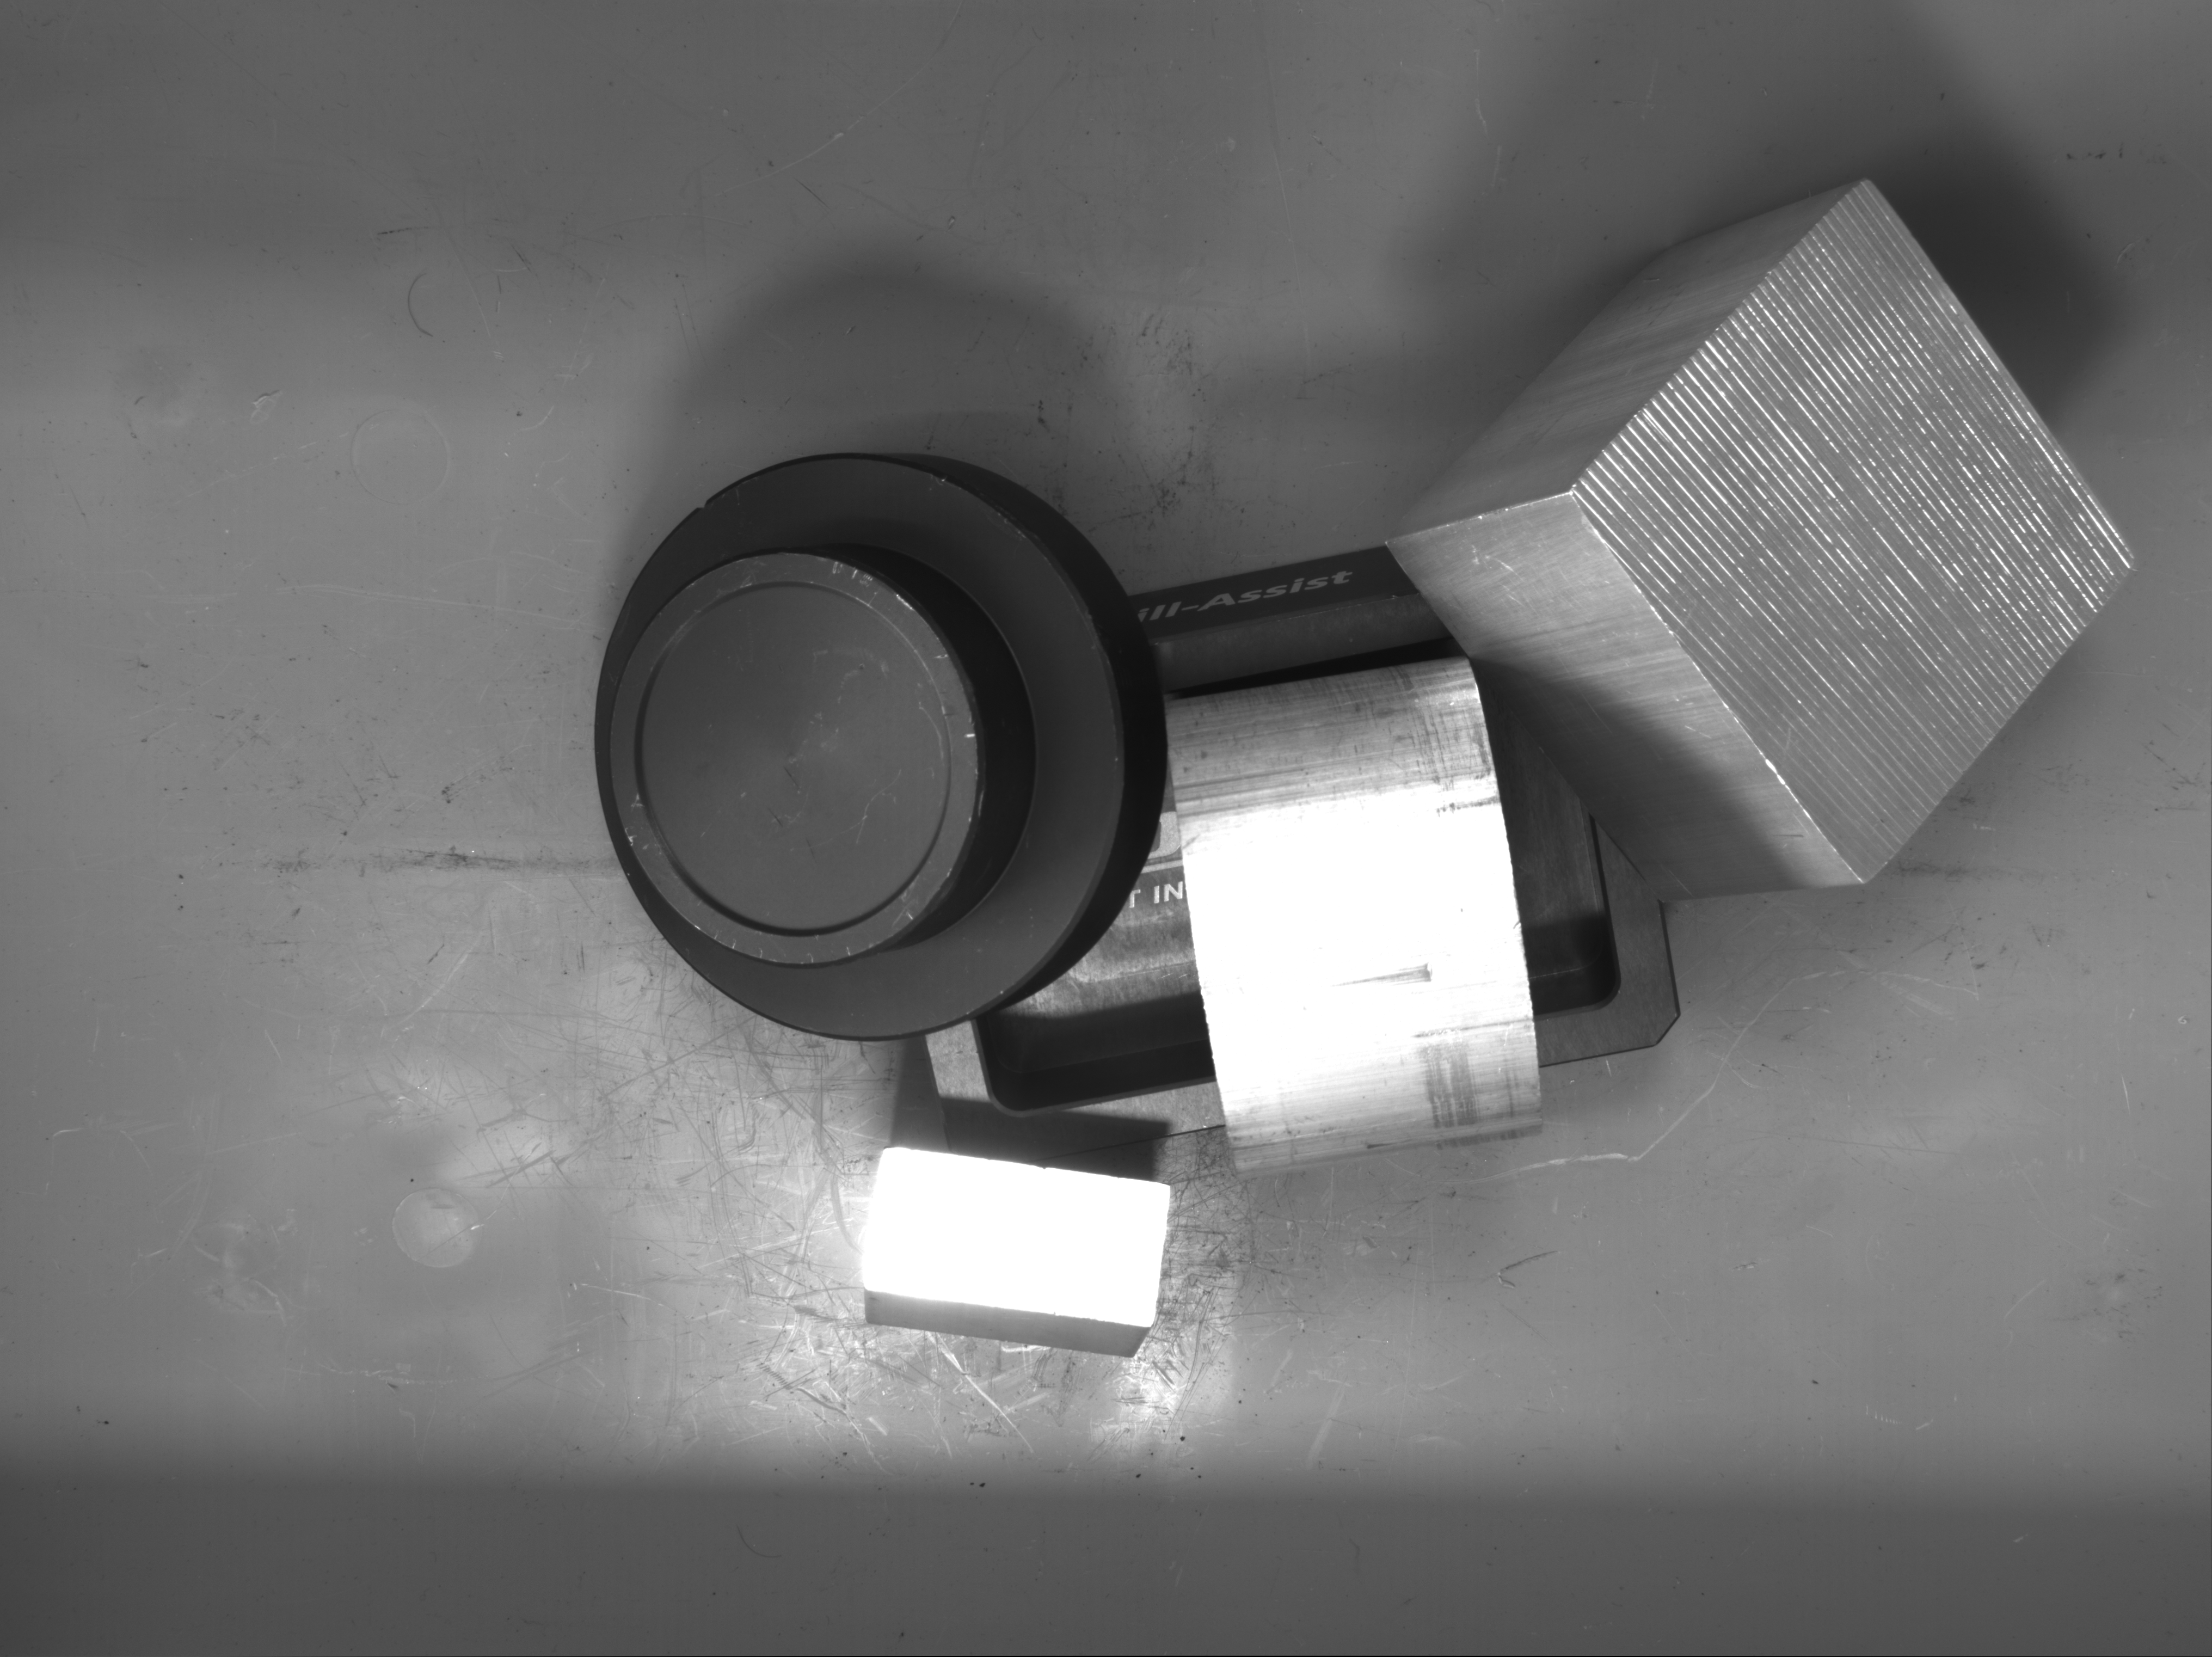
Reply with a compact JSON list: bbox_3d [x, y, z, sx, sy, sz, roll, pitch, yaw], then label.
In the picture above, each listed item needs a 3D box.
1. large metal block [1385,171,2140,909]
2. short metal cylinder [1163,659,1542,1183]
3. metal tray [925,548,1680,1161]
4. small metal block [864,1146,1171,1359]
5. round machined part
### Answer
[{"bbox_3d":[0.106,-0.045,0.592,0.080,0.050,0.080,-47,107,-23],"label":"large metal block"},{"bbox_3d":[0.040,0.015,0.606,0.050,0.080,0.080,-9,110,3],"label":"short metal cylinder"},{"bbox_3d":[0.028,0.003,0.643,0.130,0.030,0.090,-11,110,4],"label":"metal tray"},{"bbox_3d":[-0.017,0.076,0.655,0.050,0.050,0.025,8,75,-2],"label":"small metal block"},{"bbox_3d":[-0.043,-0.012,0.609,0.098,0.042,0.098,2,95,23],"label":"round machined part"}]
